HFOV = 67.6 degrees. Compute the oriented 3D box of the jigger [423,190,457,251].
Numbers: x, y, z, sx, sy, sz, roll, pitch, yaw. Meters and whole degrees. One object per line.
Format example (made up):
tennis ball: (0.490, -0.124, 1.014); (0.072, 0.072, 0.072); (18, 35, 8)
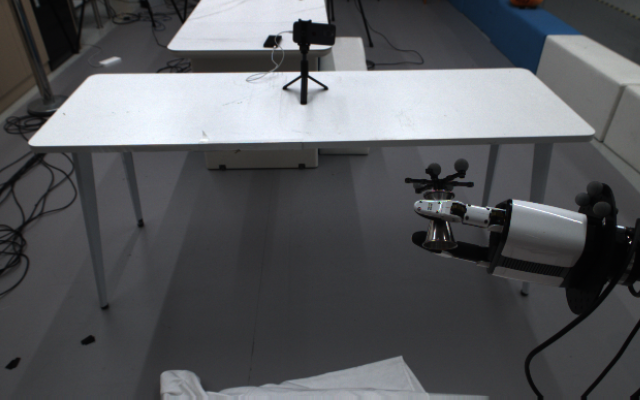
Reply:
jigger: (0.151, 0.024, 0.620); (0.043, 0.043, 0.071); (4, 71, 2)
